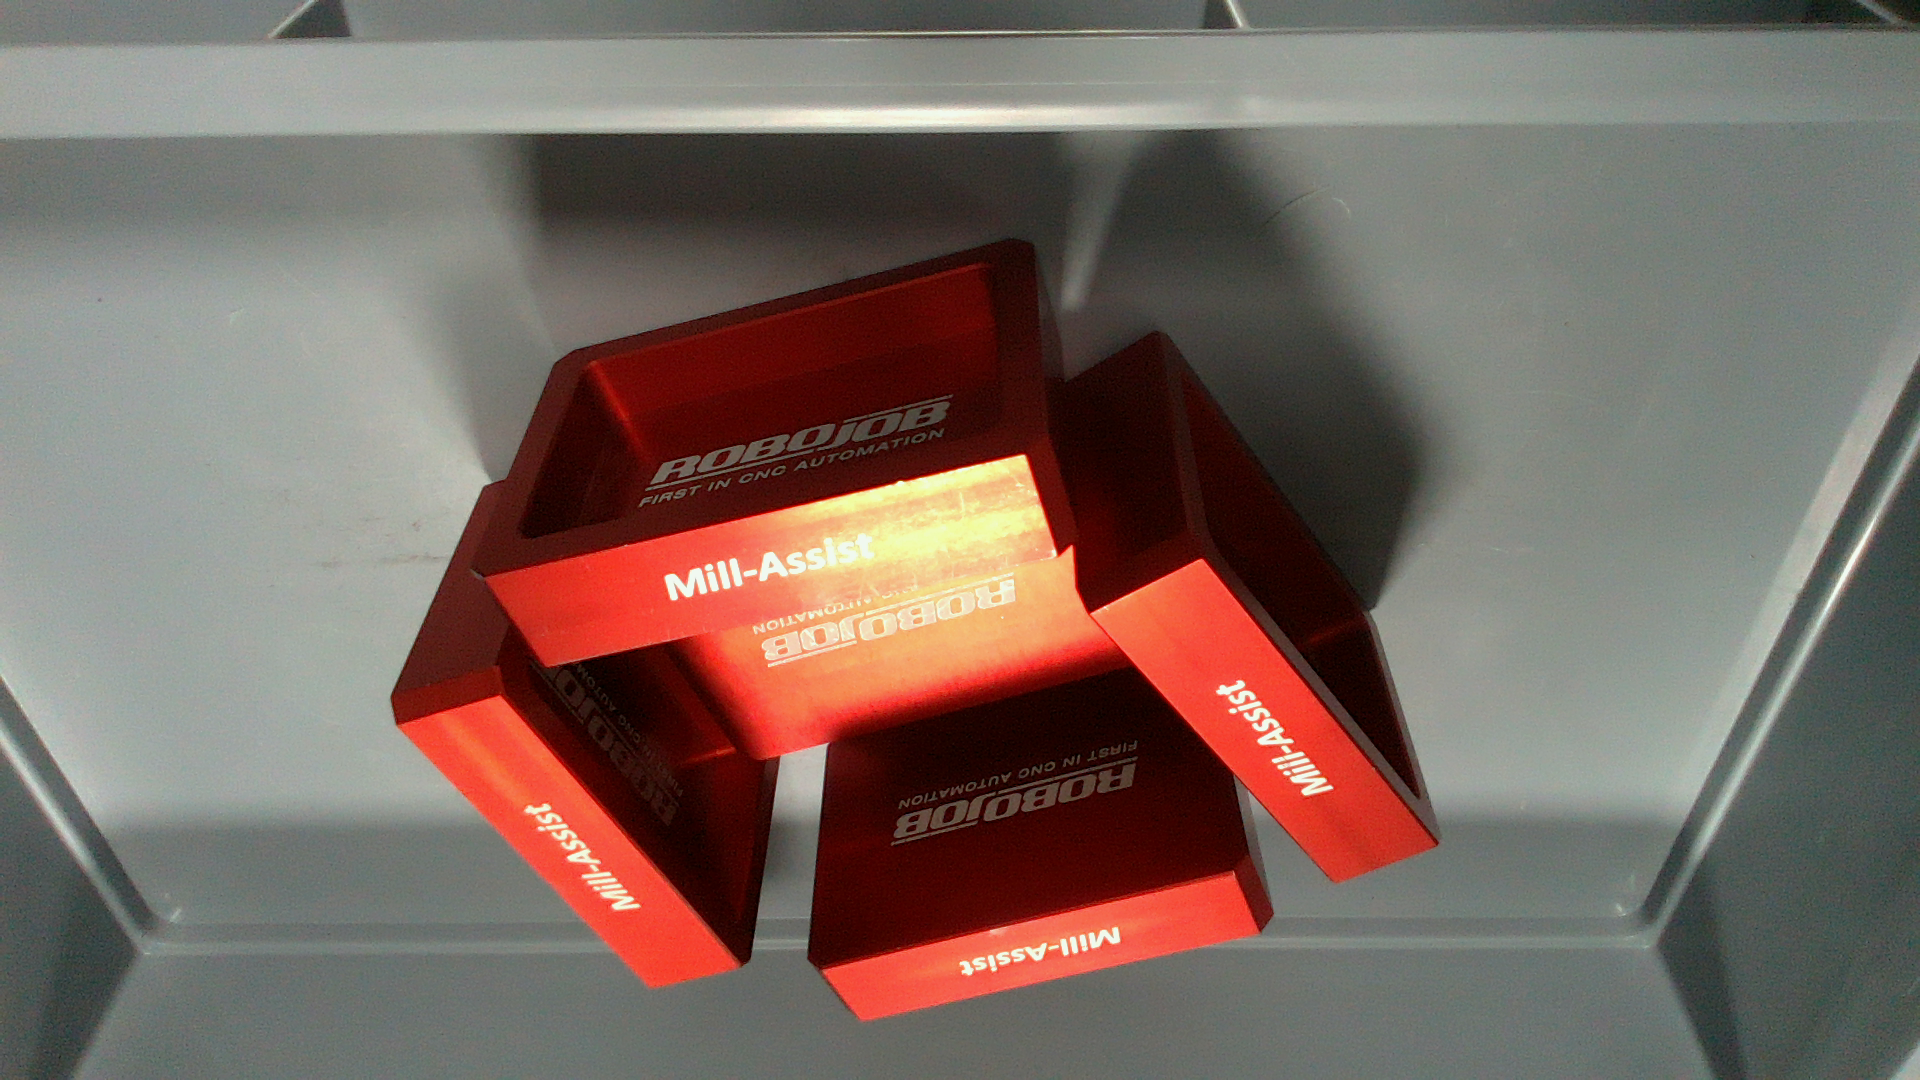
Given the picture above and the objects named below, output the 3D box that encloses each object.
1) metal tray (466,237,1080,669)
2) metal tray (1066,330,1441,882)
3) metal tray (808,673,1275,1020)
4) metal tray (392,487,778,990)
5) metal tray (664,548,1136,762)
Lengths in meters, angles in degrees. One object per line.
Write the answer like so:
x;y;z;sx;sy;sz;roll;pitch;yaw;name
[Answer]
-0.041;-0.023;0.326;0.130;0.090;0.030;-12;129;10;metal tray
0.077;0.018;0.363;0.030;0.090;0.130;-29;125;23;metal tray
0.022;0.087;0.419;0.130;0.090;0.030;-16;128;13;metal tray
-0.097;0.054;0.391;0.030;0.090;0.130;-17;128;14;metal tray
-0.021;0.011;0.394;0.130;0.030;0.090;-16;128;13;metal tray
